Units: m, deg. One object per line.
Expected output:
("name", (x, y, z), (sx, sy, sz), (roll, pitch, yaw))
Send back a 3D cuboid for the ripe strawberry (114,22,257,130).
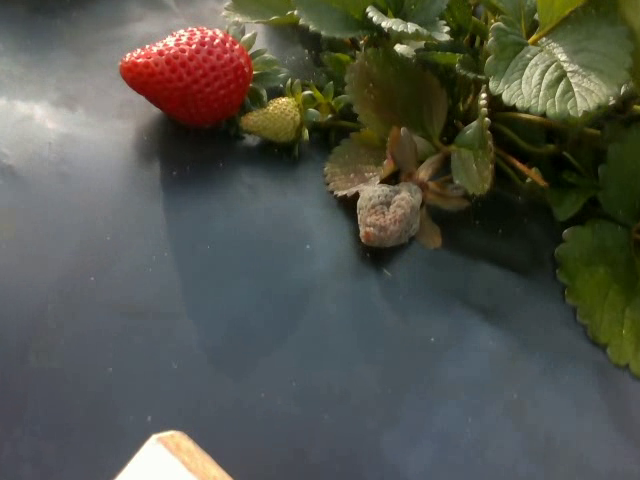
("ripe strawberry", (-0.051, -0.061, 0.214), (0.045, 0.051, 0.057), (43, 33, 16))
